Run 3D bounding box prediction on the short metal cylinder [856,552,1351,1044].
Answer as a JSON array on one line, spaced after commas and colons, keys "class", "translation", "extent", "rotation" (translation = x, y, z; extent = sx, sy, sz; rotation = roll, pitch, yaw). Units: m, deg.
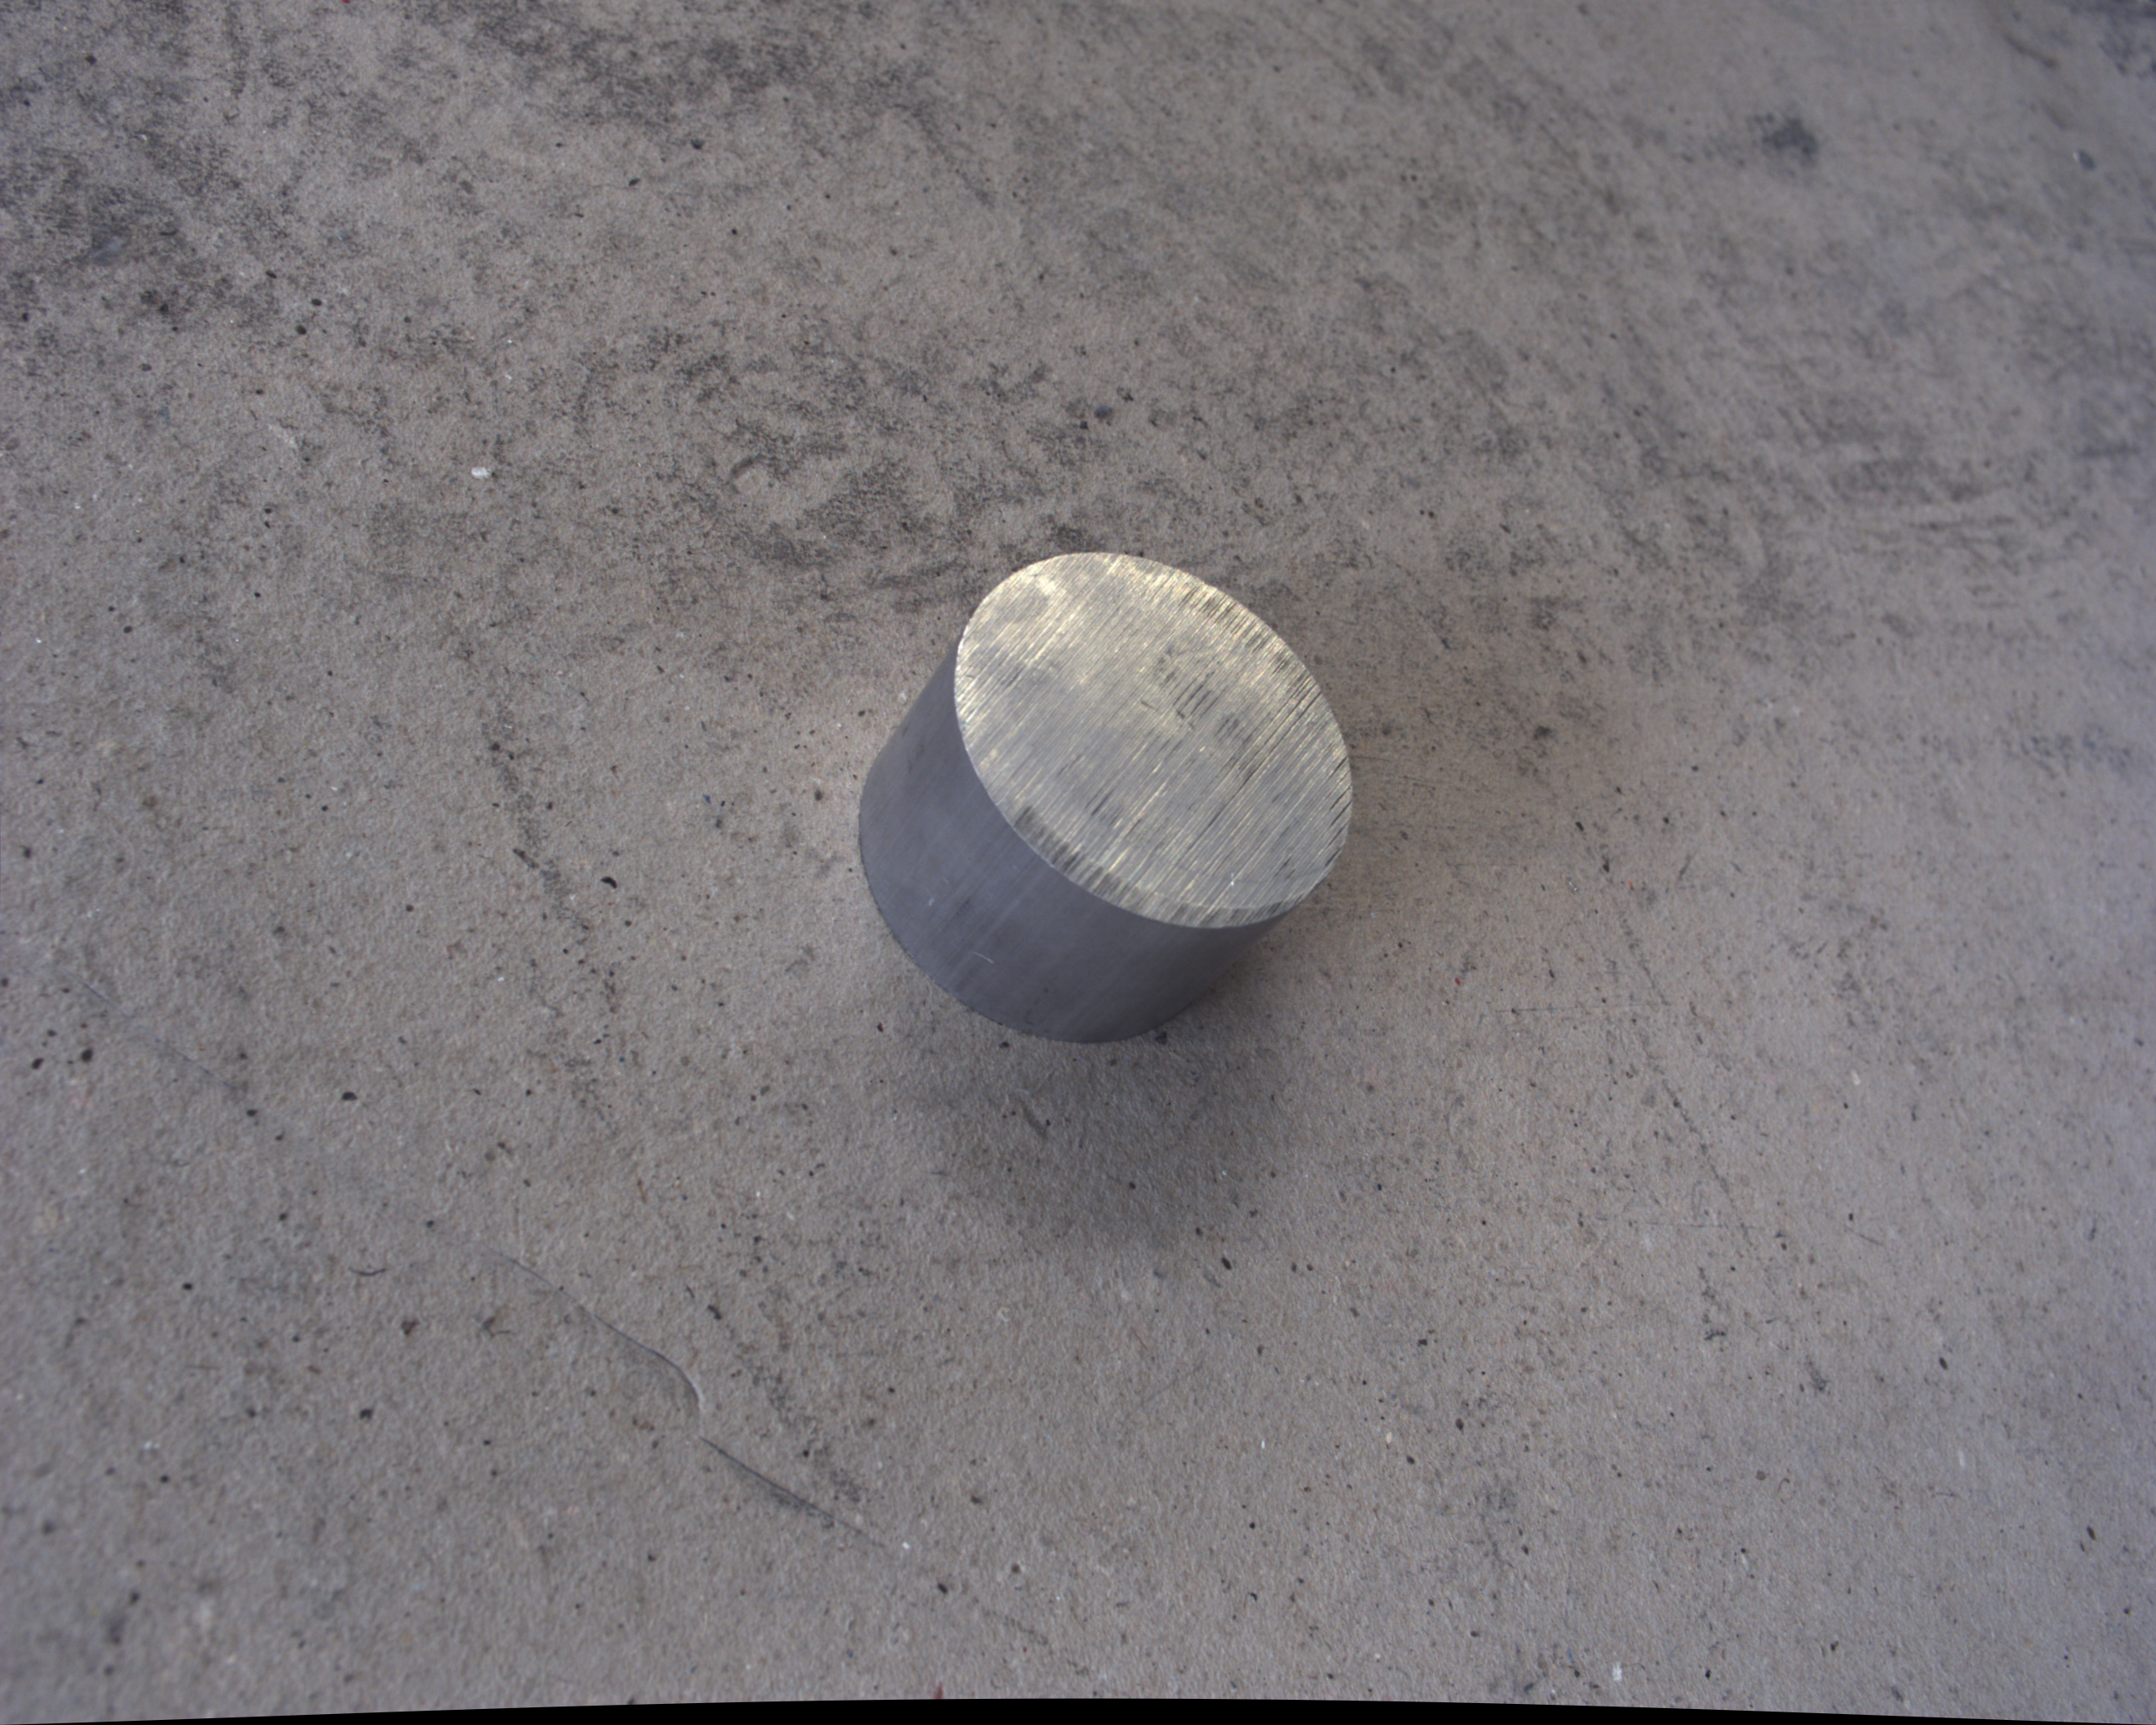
[{"class": "short metal cylinder", "translation": [0.004, -0.012, 0.398], "extent": [0.081, 0.050, 0.080], "rotation": [14, 56, -22]}]
